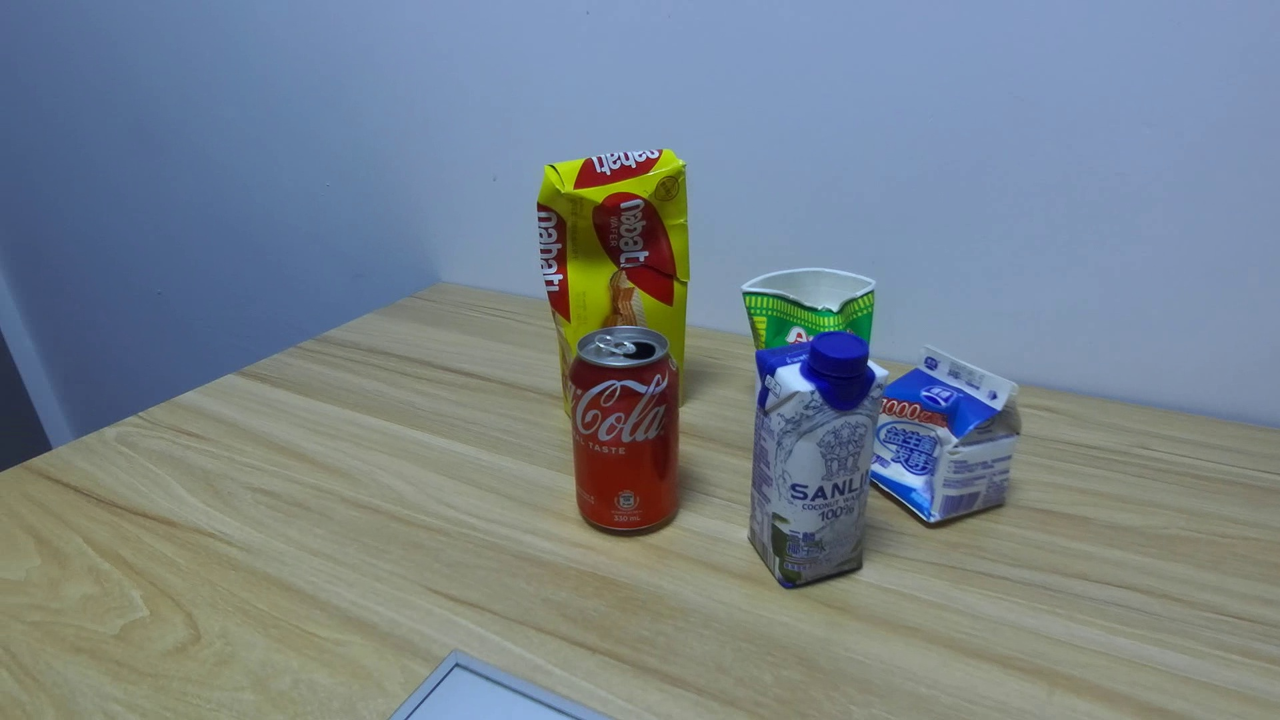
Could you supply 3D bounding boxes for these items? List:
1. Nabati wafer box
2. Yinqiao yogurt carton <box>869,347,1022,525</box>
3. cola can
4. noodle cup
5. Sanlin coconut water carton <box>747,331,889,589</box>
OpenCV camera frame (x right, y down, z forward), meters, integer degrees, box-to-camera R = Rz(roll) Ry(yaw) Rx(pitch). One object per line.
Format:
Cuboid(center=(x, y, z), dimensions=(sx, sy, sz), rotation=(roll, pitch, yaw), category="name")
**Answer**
Cuboid(center=(-0.018, -0.050, 0.533), dimensions=(0.107, 0.204, 0.042), rotation=(-11, 29, -20), category="Nabati wafer box")
Cuboid(center=(0.197, 0.045, 0.459), dimensions=(0.071, 0.094, 0.077), rotation=(-7, 26, -25), category="Yinqiao yogurt carton")
Cuboid(center=(-0.009, 0.041, 0.438), dimensions=(0.068, 0.120, 0.068), rotation=(0, 28, 0), category="cola can")
Cuboid(center=(0.134, -0.007, 0.545), dimensions=(0.082, 0.122, 0.075), rotation=(6, 18, 35), category="noodle cup")
Cuboid(center=(0.095, 0.050, 0.387), dimensions=(0.061, 0.144, 0.060), rotation=(-10, 26, -17), category="Sanlin coconut water carton")
